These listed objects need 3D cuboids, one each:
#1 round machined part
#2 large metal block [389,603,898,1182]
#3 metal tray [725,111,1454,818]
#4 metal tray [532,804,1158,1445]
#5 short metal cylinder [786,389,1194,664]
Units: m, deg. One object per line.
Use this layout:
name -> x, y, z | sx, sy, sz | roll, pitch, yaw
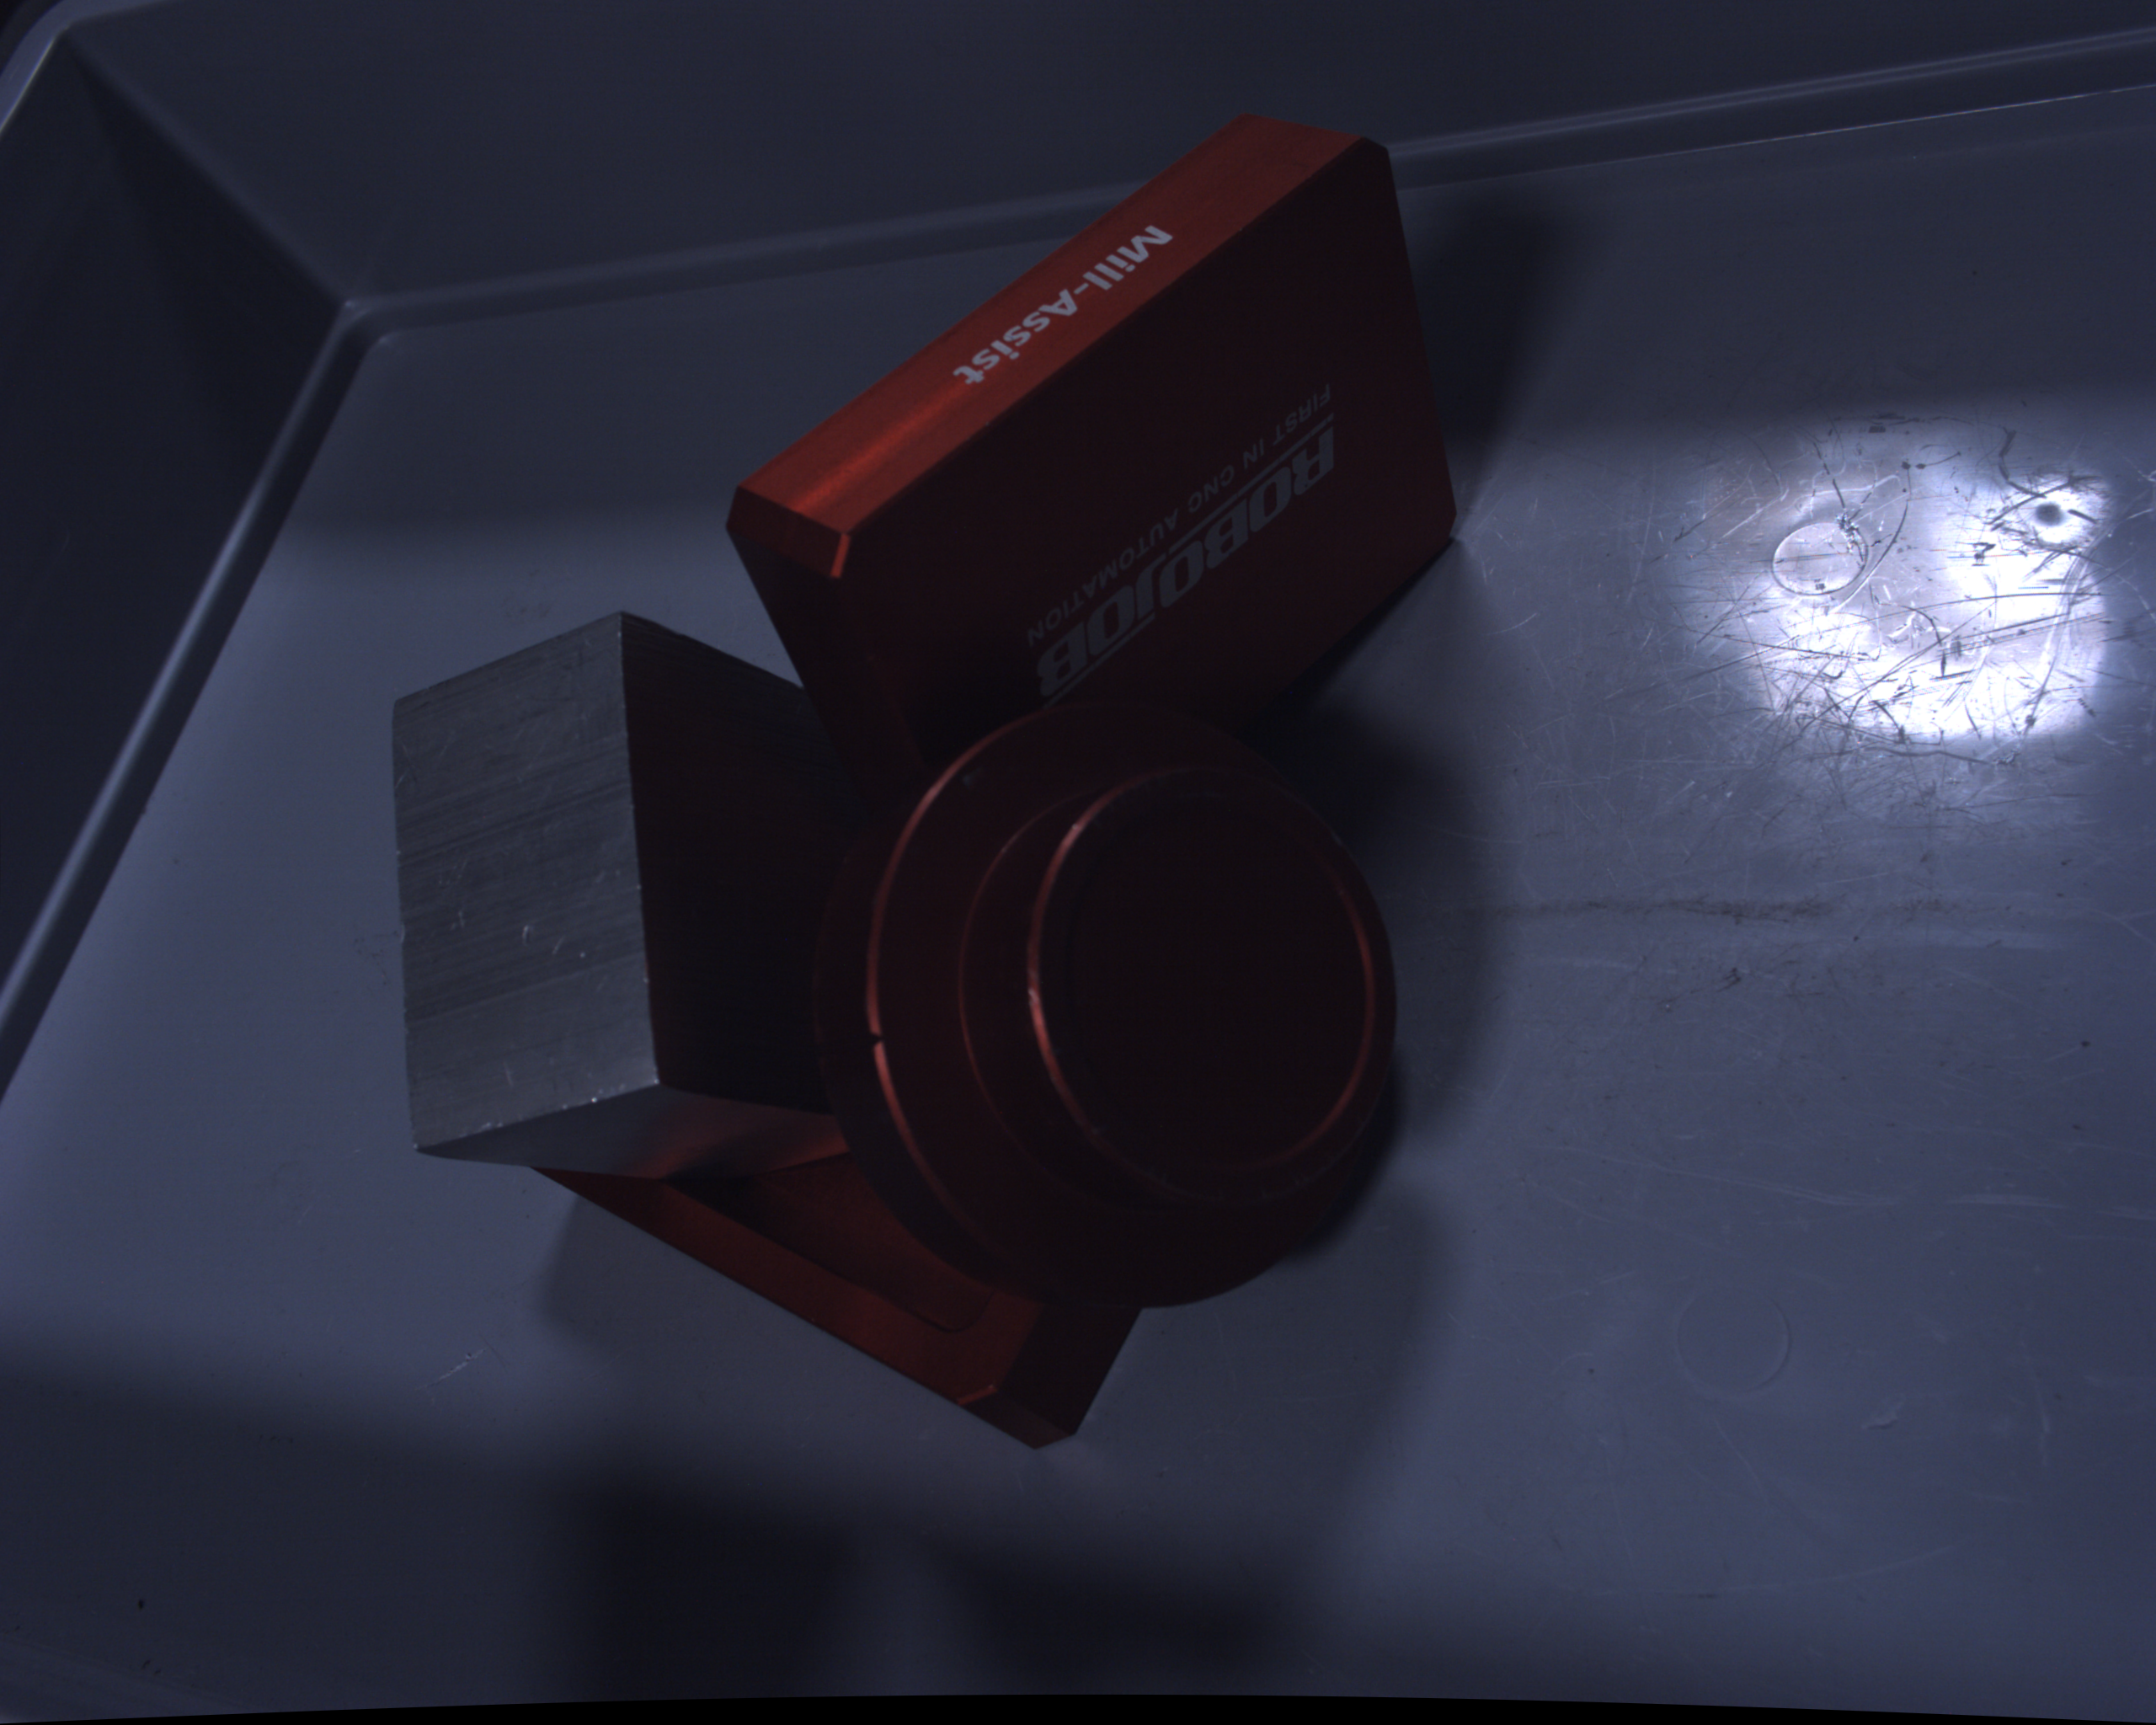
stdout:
round machined part -> 0.011, 0.021, 0.332 | 0.042, 0.098, 0.098 | -17, 49, 56
large metal block -> -0.071, 0.010, 0.368 | 0.050, 0.080, 0.080 | -17, 71, 25
metal tray -> 0.009, -0.062, 0.374 | 0.131, 0.090, 0.030 | -42, 46, -21
metal tray -> -0.039, 0.040, 0.394 | 0.130, 0.030, 0.090 | 19, 71, 35
short metal cylinder -> -0.014, -0.067, 0.416 | 0.080, 0.050, 0.080 | -24, 28, 14
